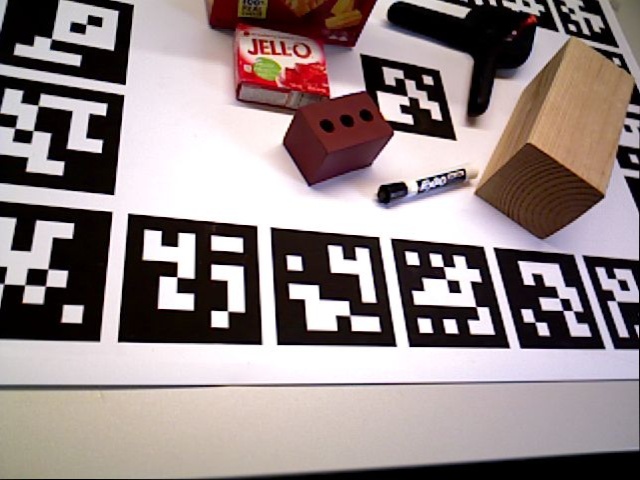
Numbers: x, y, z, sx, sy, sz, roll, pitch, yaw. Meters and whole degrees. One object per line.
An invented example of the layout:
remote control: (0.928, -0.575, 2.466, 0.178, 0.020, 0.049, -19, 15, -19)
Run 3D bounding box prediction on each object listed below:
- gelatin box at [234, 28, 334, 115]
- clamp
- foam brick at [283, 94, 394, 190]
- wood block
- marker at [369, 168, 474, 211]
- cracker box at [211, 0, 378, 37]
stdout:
gelatin box: (-0.035, -0.158, 0.517, 0.088, 0.031, 0.072, 3, 66, -20)
clamp: (0.192, -0.236, 0.638, 0.198, 0.037, 0.165, -29, 78, -30)
foam brick: (0.016, -0.088, 0.485, 0.076, 0.052, 0.052, -22, 76, -29)
wood block: (0.251, -0.110, 0.570, 0.090, 0.093, 0.202, 33, 55, 0)
marker: (0.097, -0.048, 0.515, 0.119, 0.020, 0.019, -16, 73, -27)
cracker box: (0.002, -0.292, 0.478, 0.162, 0.219, 0.071, 1, 62, -23)
